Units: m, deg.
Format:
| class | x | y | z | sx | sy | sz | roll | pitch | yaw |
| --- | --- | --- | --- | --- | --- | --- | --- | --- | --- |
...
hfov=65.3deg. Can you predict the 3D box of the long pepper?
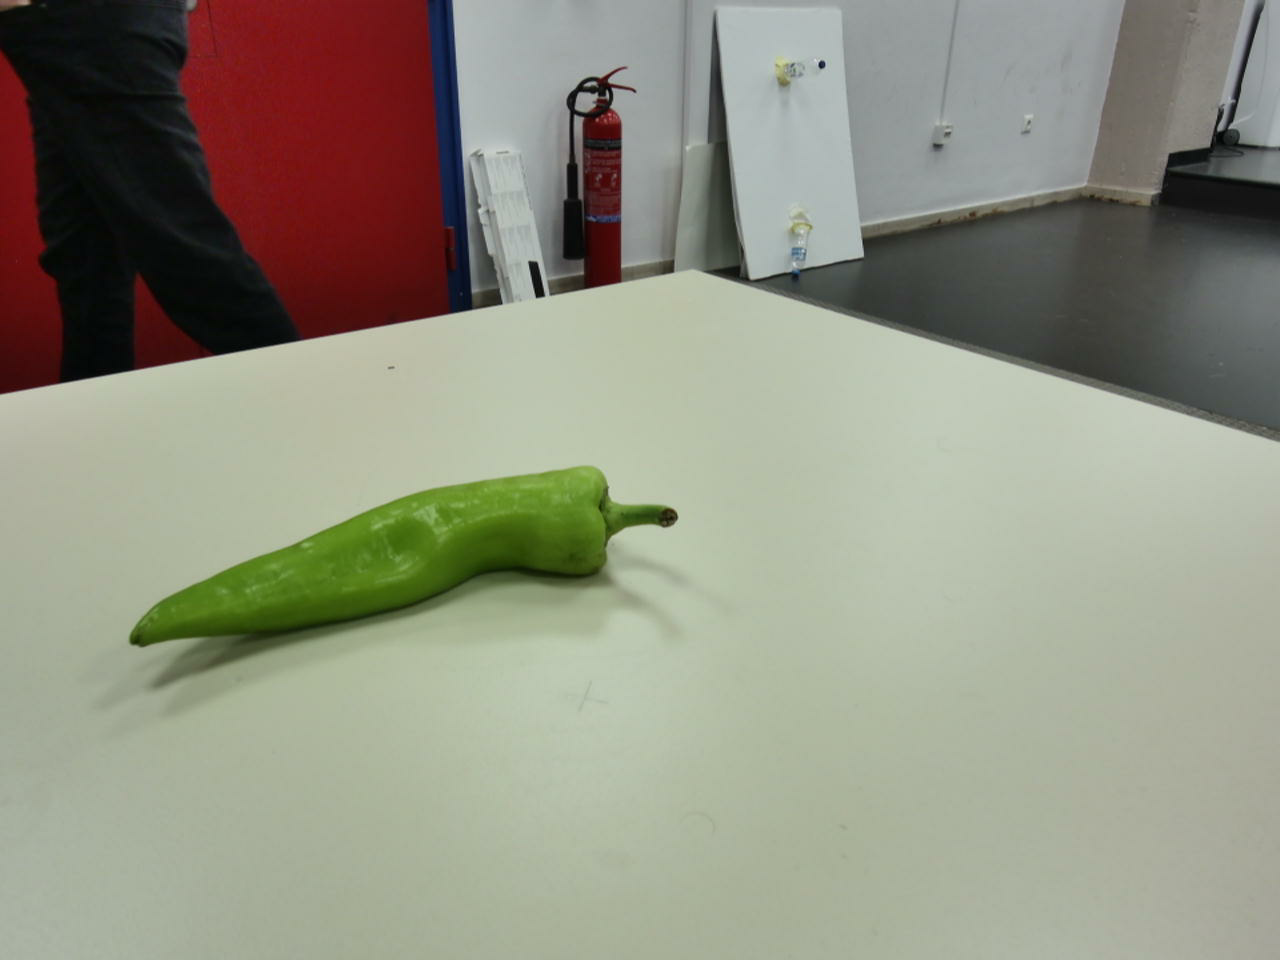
| class | x | y | z | sx | sy | sz | roll | pitch | yaw |
| --- | --- | --- | --- | --- | --- | --- | --- | --- | --- |
| long pepper | -0.090 | 0.028 | 0.399 | 0.204 | 0.045 | 0.065 | -10 | 25 | -21 |
